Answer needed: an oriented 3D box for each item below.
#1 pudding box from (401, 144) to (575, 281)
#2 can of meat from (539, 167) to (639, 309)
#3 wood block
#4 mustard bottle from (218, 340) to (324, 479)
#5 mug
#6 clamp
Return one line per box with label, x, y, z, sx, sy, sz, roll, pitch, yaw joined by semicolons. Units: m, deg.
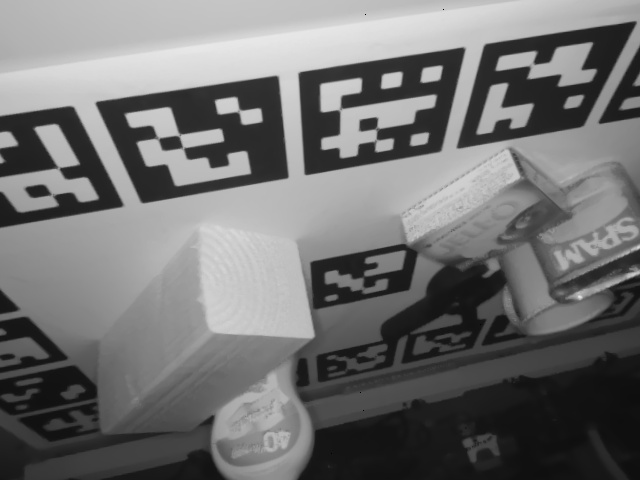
pudding box;0.138;-0.019;0.575;0.112;0.039;0.091;-34;139;28
can of meat;0.240;-0.001;0.587;0.101;0.084;0.058;-28;140;19
wood block;-0.103;0.081;0.589;0.091;0.091;0.203;14;138;-35
mustard bottle;-0.047;0.178;0.644;0.096;0.192;0.058;-13;143;-2
mug;0.228;0.041;0.688;0.094;0.082;0.115;4;139;-23
clamp;0.148;0.075;0.714;0.123;0.037;0.162;3;139;-20
